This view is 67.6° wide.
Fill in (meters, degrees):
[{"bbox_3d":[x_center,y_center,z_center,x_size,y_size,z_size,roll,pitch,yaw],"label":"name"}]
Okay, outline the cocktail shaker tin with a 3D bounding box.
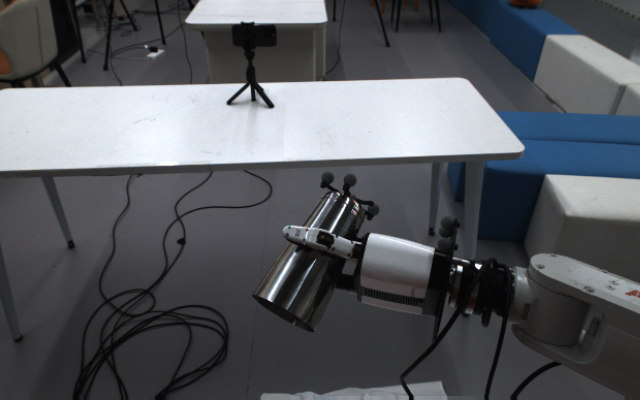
[{"bbox_3d":[-0.004,0.072,0.636,0.093,0.093,0.170,19,66,23],"label":"cocktail shaker tin"}]
